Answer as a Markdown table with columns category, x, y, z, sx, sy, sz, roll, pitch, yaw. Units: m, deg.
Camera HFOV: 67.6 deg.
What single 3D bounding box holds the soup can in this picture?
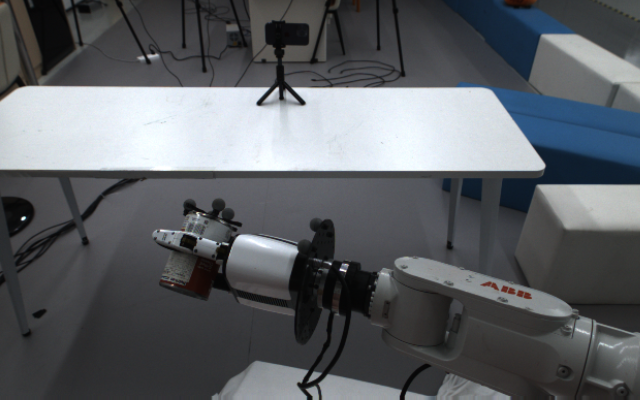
| category | x | y | z | sx | sy | sz | roll | pitch | yaw |
| --- | --- | --- | --- | --- | --- | --- | --- | --- | --- |
| soup can | -0.164 | 0.074 | 0.642 | 0.067 | 0.067 | 0.101 | 12 | 70 | 14 |
